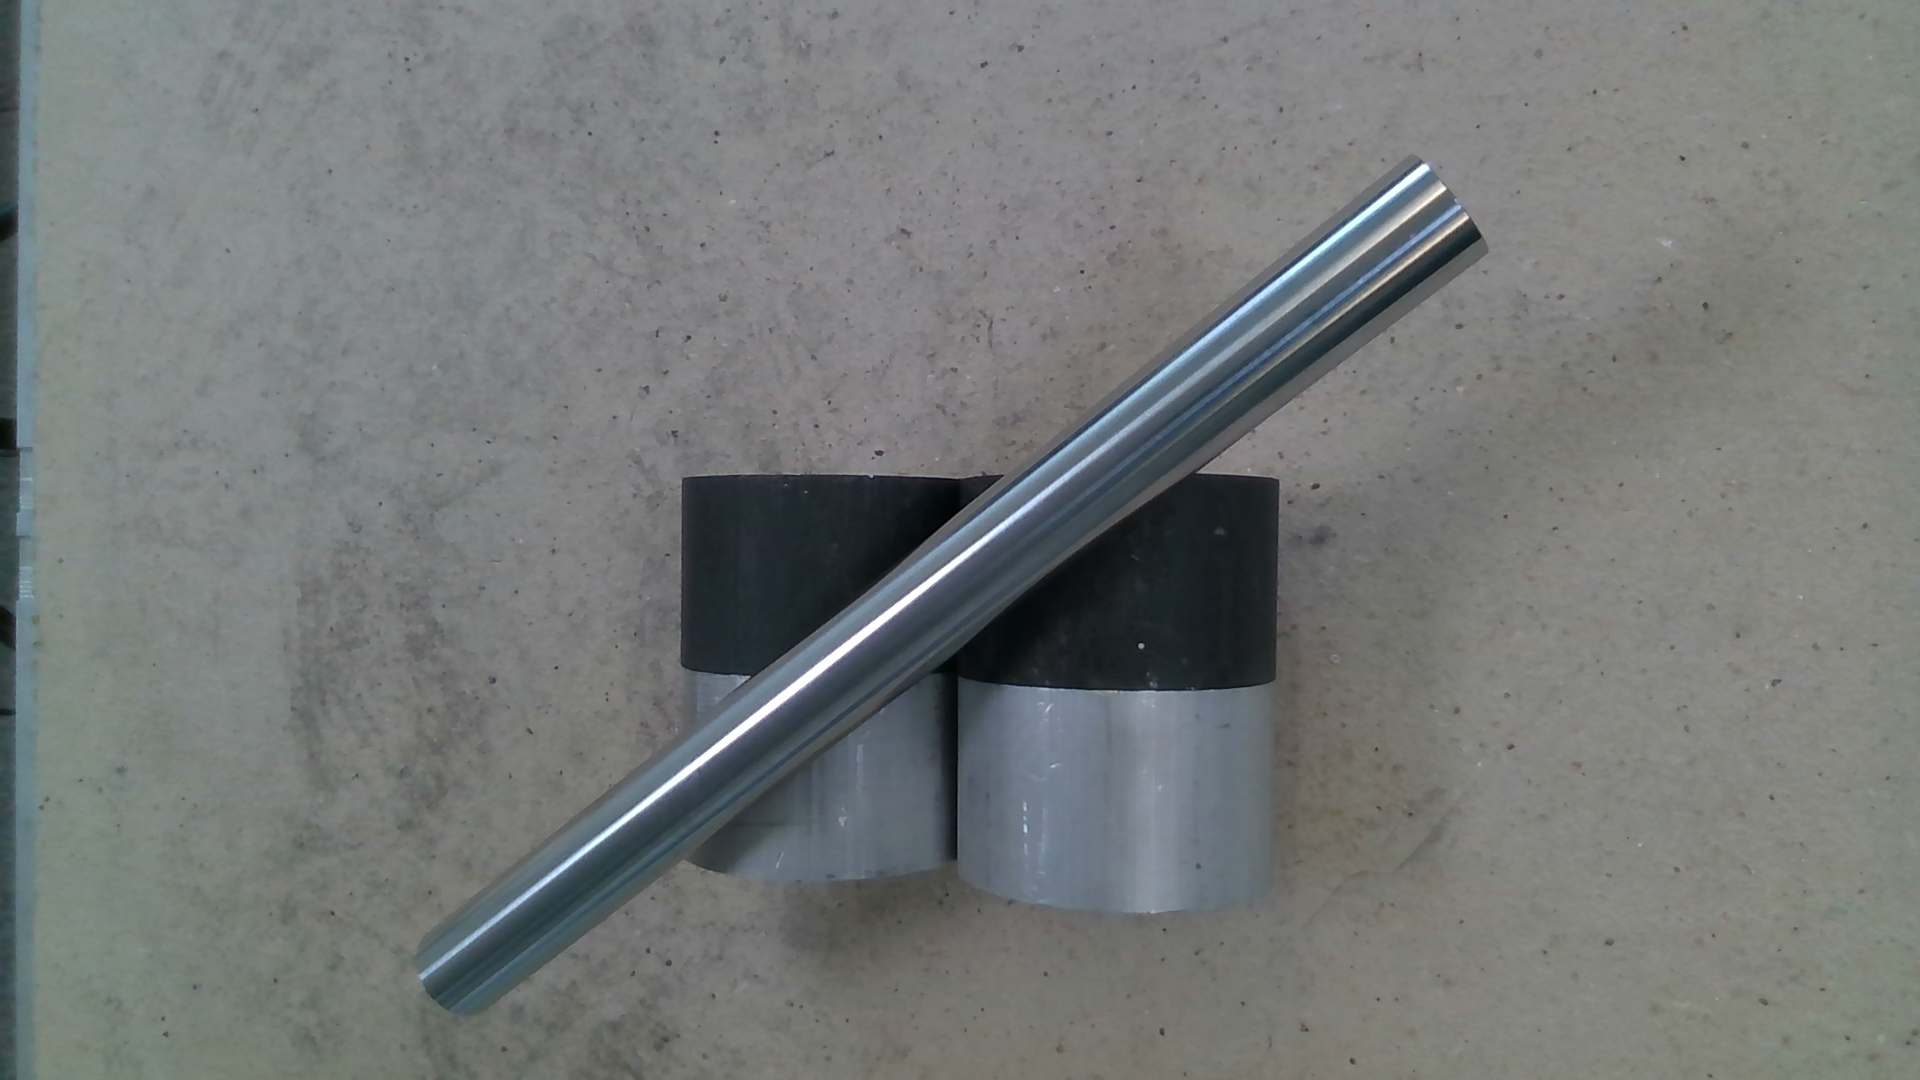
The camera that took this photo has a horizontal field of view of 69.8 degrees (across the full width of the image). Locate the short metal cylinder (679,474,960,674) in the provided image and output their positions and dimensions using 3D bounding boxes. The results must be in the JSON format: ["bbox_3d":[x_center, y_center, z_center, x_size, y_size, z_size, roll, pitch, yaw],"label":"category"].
[{"bbox_3d":[-0.036,0.009,0.378,0.080,0.080,0.050,1,90,20],"label":"short metal cylinder"}]

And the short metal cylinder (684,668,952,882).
[{"bbox_3d":[-0.036,0.059,0.379,0.080,0.080,0.050,1,90,20],"label":"short metal cylinder"}]

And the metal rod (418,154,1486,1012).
[{"bbox_3d":[-0.017,0.022,0.315,0.300,0.025,0.025,-38,78,16],"label":"metal rod"}]

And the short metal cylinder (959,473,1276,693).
[{"bbox_3d":[0.040,0.009,0.351,0.080,0.080,0.050,1,90,20],"label":"short metal cylinder"}]

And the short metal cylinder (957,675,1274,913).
[{"bbox_3d":[0.039,0.059,0.351,0.080,0.080,0.050,1,90,20],"label":"short metal cylinder"}]
